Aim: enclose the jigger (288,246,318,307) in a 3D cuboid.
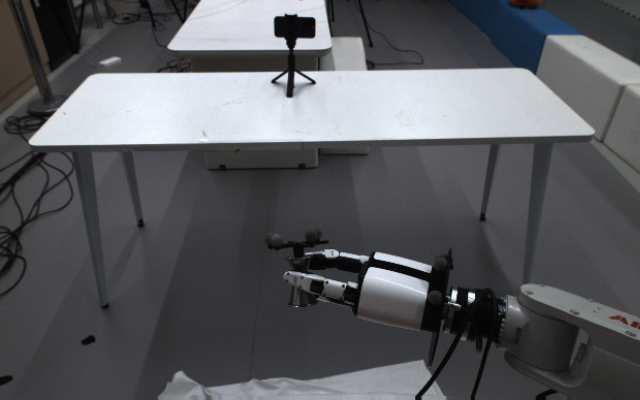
[{"bbox_3d":[-0.027,0.112,0.683,0.043,0.071,0.043,-4,1,0],"label":"jigger"}]
